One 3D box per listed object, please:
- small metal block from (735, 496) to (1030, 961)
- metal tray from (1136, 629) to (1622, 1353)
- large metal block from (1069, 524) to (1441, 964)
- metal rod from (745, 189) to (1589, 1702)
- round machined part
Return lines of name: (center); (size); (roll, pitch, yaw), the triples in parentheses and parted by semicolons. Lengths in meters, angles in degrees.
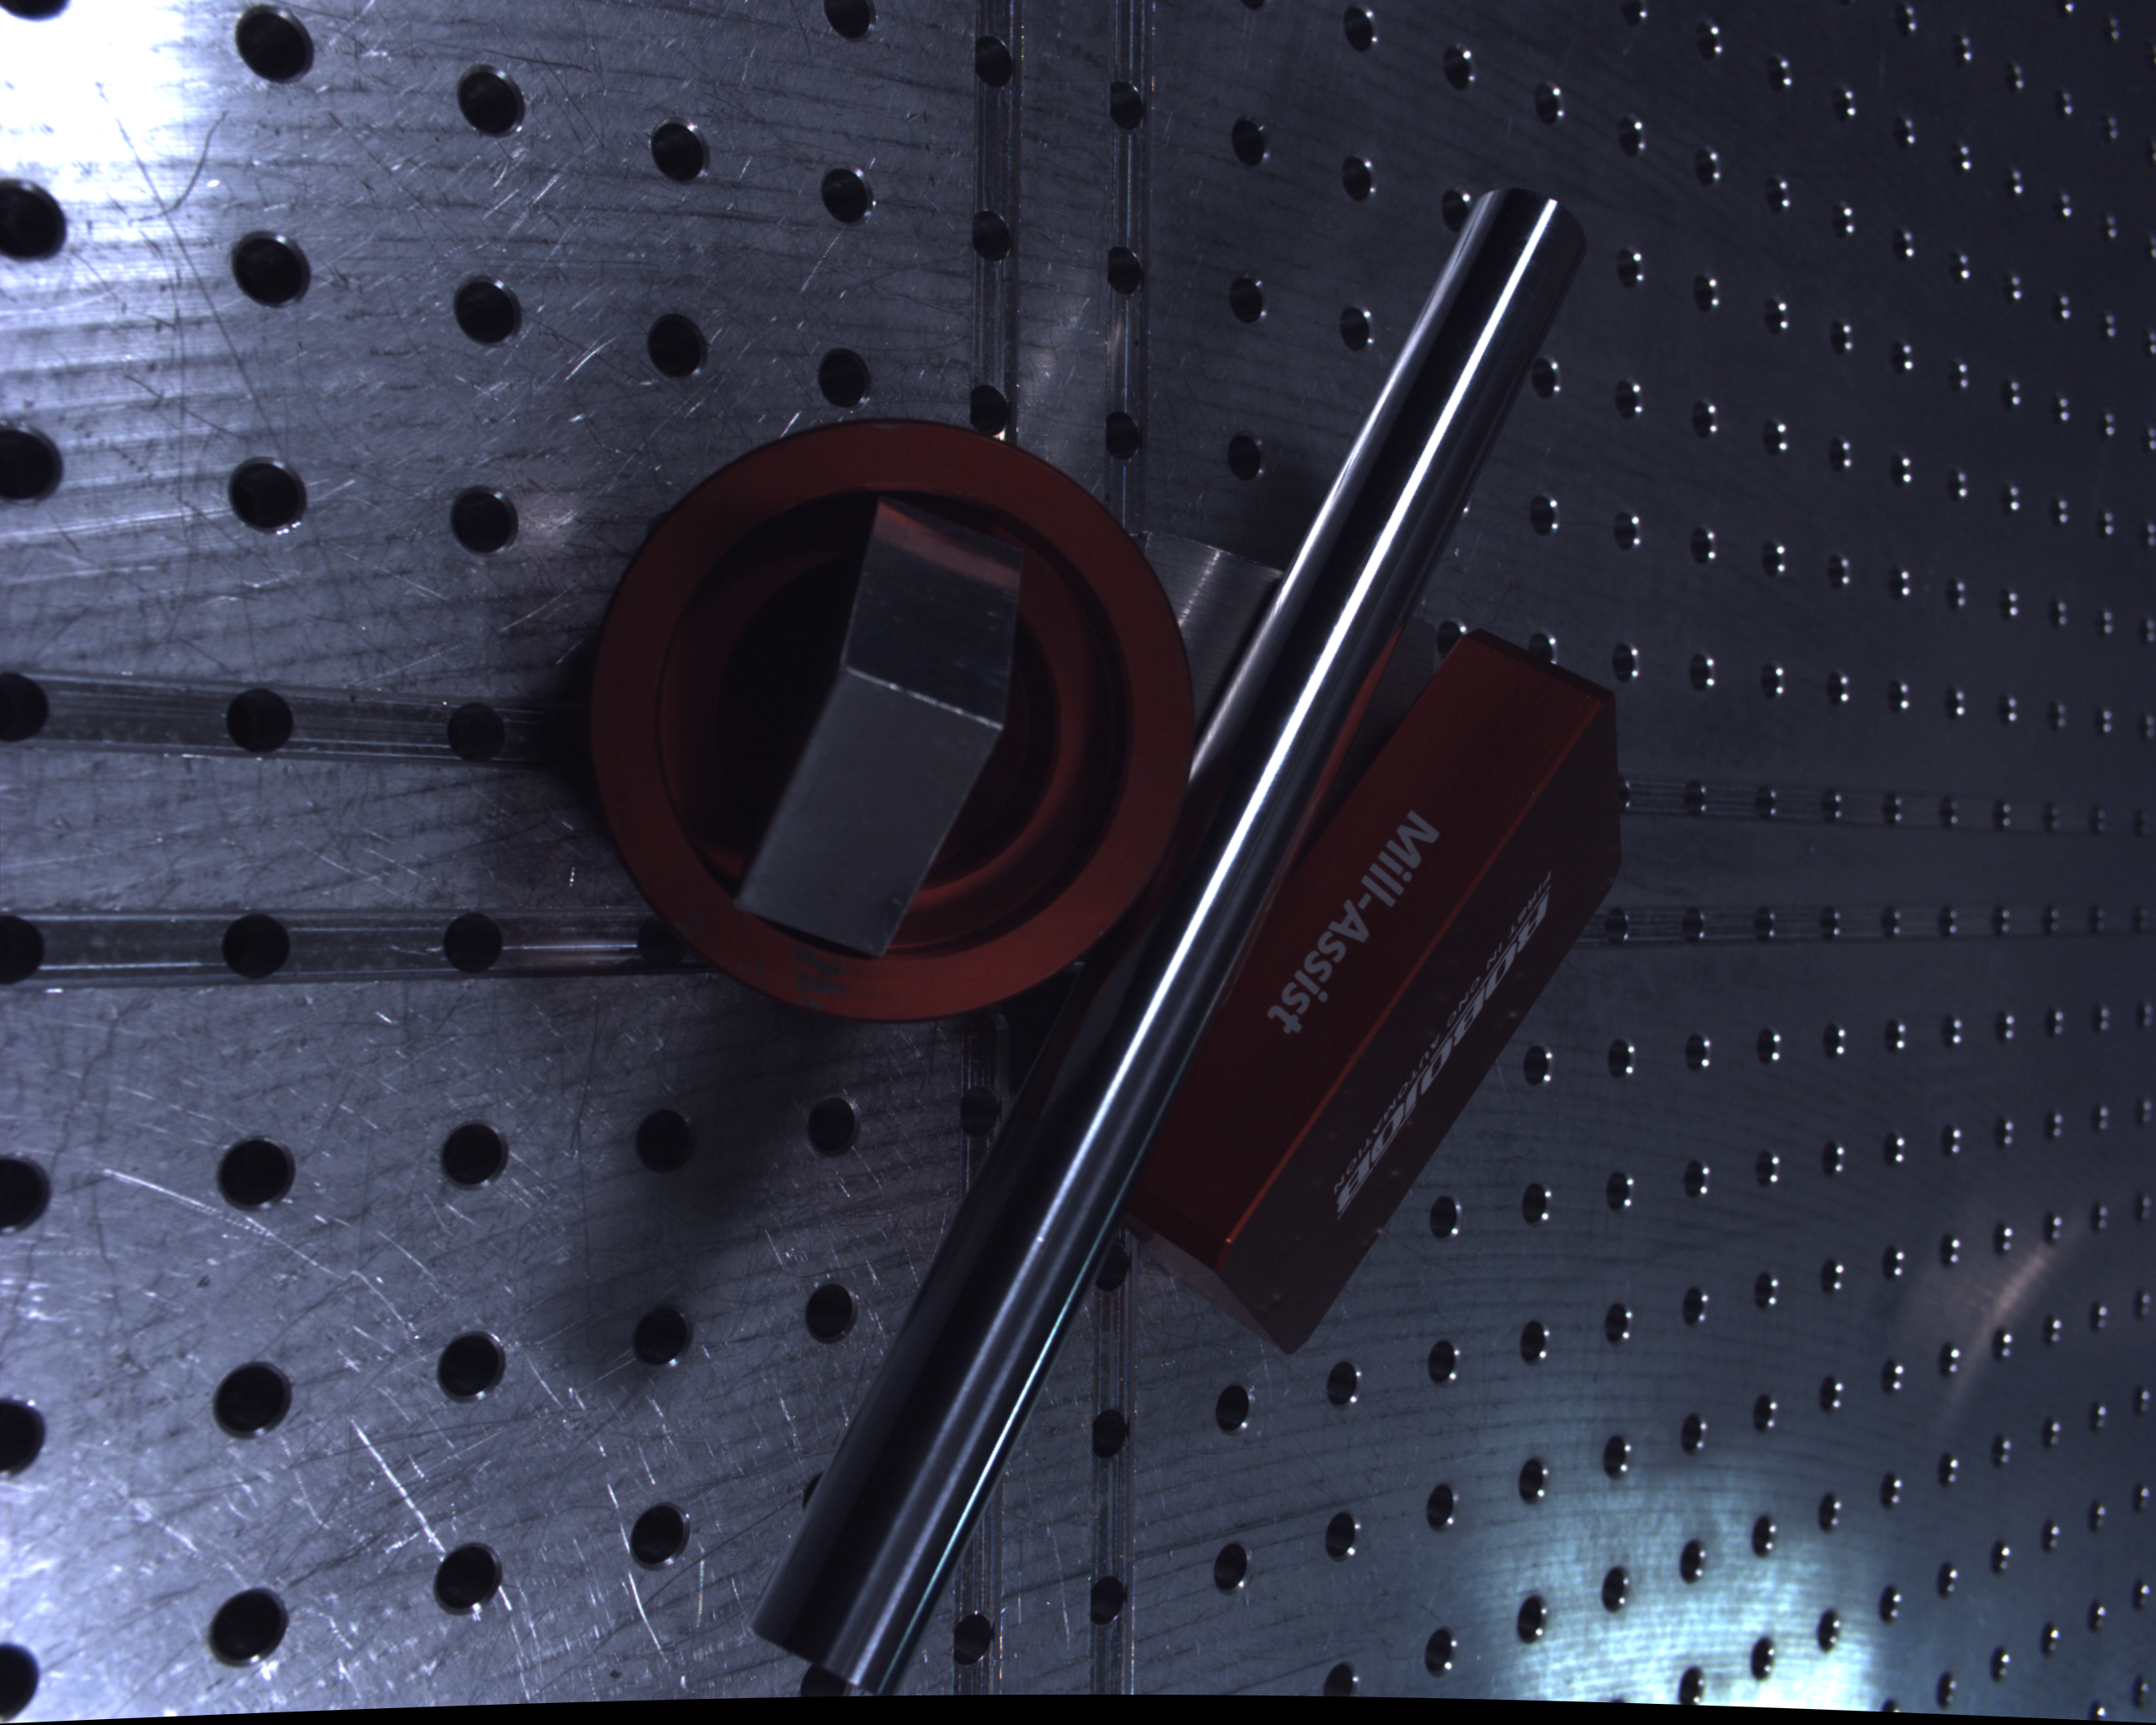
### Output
small metal block: (-0.031, -0.022, 0.332); (0.025, 0.050, 0.050); (21, 37, -13)
metal tray: (0.061, 0.029, 0.415); (0.130, 0.030, 0.090); (-53, 154, -11)
large metal block: (0.022, -0.015, 0.413); (0.081, 0.050, 0.080); (12, 83, -40)
metal rod: (0.026, -0.003, 0.368); (0.025, 0.025, 0.300); (42, 64, -32)
round machined part: (-0.033, -0.023, 0.355); (0.099, 0.042, 0.097); (-1, 93, -15)
